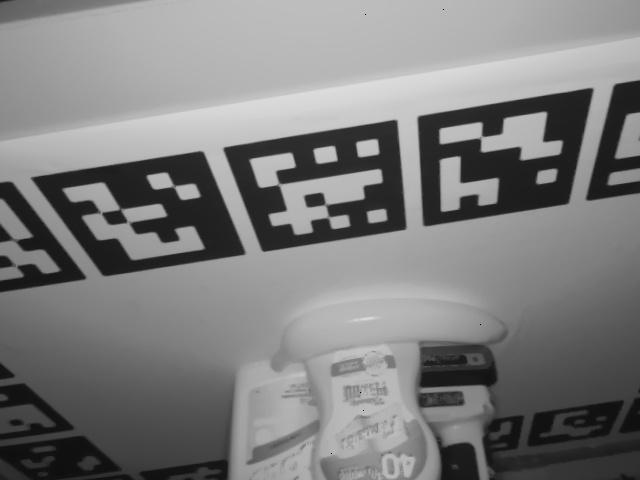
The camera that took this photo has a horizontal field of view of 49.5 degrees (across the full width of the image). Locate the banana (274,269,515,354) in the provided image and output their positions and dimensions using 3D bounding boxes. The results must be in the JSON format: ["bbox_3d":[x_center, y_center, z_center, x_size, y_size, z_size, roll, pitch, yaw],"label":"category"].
[{"bbox_3d":[0.059,0.053,0.548,0.198,0.039,0.073,-6,135,-3],"label":"banana"}]

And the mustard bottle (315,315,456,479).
[{"bbox_3d":[0.048,0.138,0.509,0.096,0.193,0.058,-7,136,3],"label":"mustard bottle"}]

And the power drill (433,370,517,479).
[{"bbox_3d":[0.099,0.195,0.545,0.185,0.188,0.057,2,136,-6],"label":"power drill"}]

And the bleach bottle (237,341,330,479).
[{"bbox_3d":[-0.012,0.204,0.536,0.103,0.252,0.067,-6,141,0],"label":"bleach bottle"}]
